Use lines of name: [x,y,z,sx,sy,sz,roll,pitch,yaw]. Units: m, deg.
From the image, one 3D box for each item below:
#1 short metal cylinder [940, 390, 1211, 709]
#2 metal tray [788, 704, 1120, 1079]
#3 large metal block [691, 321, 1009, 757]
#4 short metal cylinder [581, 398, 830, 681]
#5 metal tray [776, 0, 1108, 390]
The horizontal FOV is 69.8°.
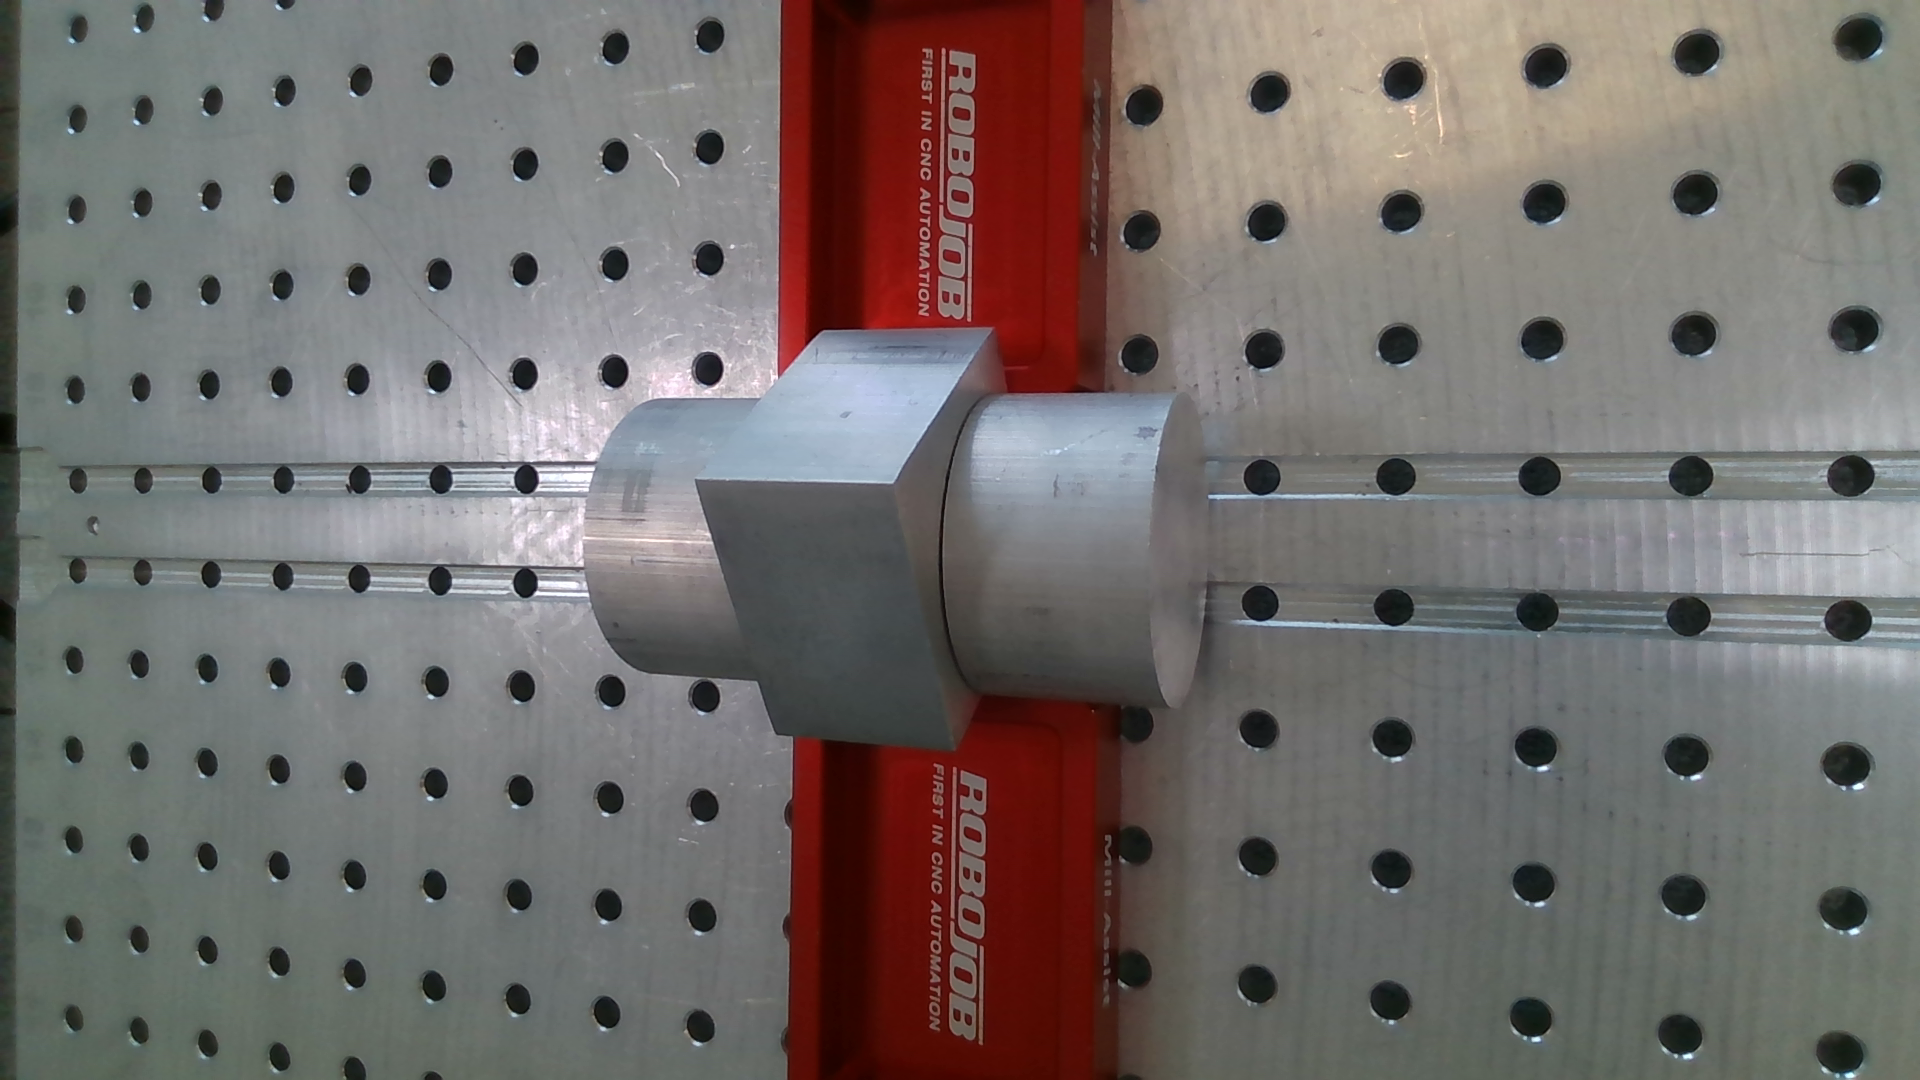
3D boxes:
short metal cylinder: [0.033,0.002,0.355,0.050,0.080,0.080,1,91,20]
metal tray: [-0.002,0.105,0.395,0.090,0.030,0.130,1,91,20]
large metal block: [-0.020,-0.003,0.359,0.050,0.080,0.080,2,125,20]
short metal cylinder: [-0.062,0.000,0.390,0.050,0.080,0.080,2,91,20]
metal tray: [-0.005,-0.103,0.395,0.090,0.030,0.130,1,91,20]
